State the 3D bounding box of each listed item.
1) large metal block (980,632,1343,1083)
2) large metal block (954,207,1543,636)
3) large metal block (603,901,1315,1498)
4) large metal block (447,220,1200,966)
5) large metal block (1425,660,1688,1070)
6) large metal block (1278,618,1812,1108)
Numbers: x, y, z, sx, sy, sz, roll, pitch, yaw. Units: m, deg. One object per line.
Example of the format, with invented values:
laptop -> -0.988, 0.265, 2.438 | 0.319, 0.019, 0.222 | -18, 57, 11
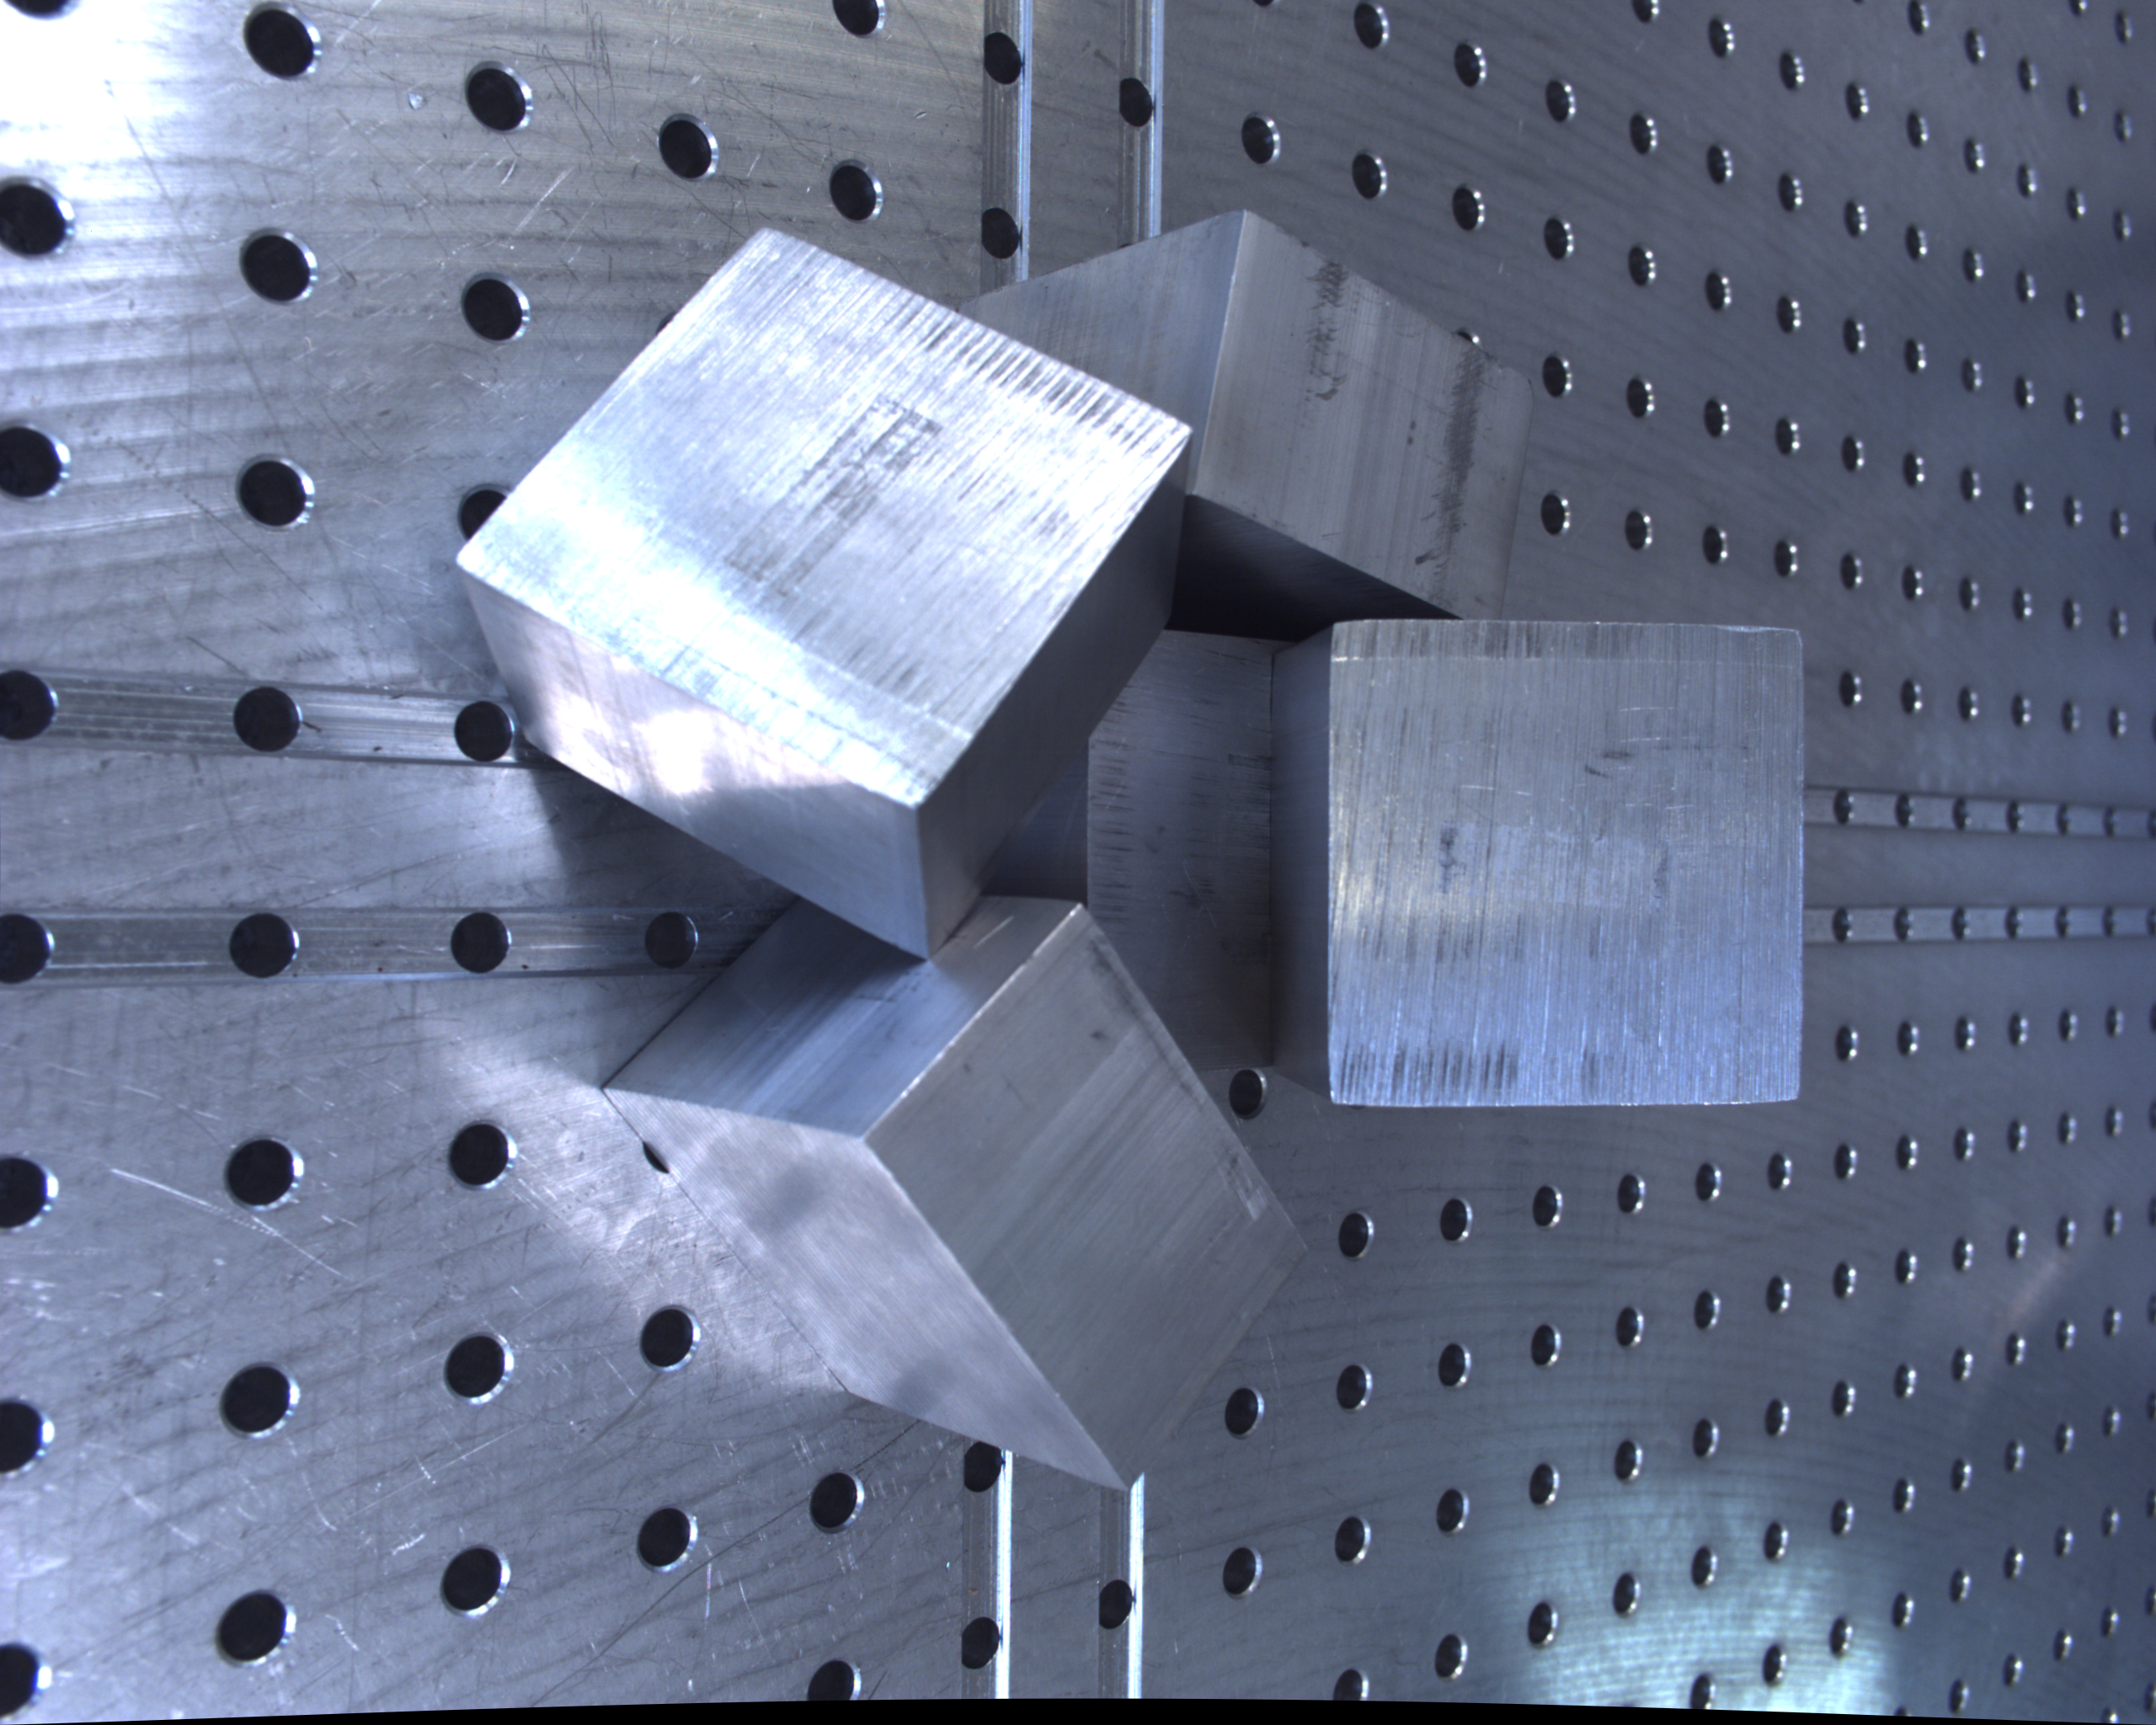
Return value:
large metal block -> 0.016, -0.001, 0.405 | 0.081, 0.050, 0.080 | 1, 90, -40
large metal block -> 0.027, -0.075, 0.395 | 0.080, 0.080, 0.050 | 17, 79, -39
large metal block -> -0.020, 0.053, 0.354 | 0.050, 0.080, 0.080 | -48, 119, -30
large metal block -> -0.037, -0.044, 0.333 | 0.080, 0.080, 0.050 | -56, 167, -25
large metal block -> 0.089, 0.000, 0.436 | 0.050, 0.080, 0.080 | 0, 90, -2
large metal block -> 0.079, 0.000, 0.368 | 0.080, 0.050, 0.080 | 0, 89, -6
